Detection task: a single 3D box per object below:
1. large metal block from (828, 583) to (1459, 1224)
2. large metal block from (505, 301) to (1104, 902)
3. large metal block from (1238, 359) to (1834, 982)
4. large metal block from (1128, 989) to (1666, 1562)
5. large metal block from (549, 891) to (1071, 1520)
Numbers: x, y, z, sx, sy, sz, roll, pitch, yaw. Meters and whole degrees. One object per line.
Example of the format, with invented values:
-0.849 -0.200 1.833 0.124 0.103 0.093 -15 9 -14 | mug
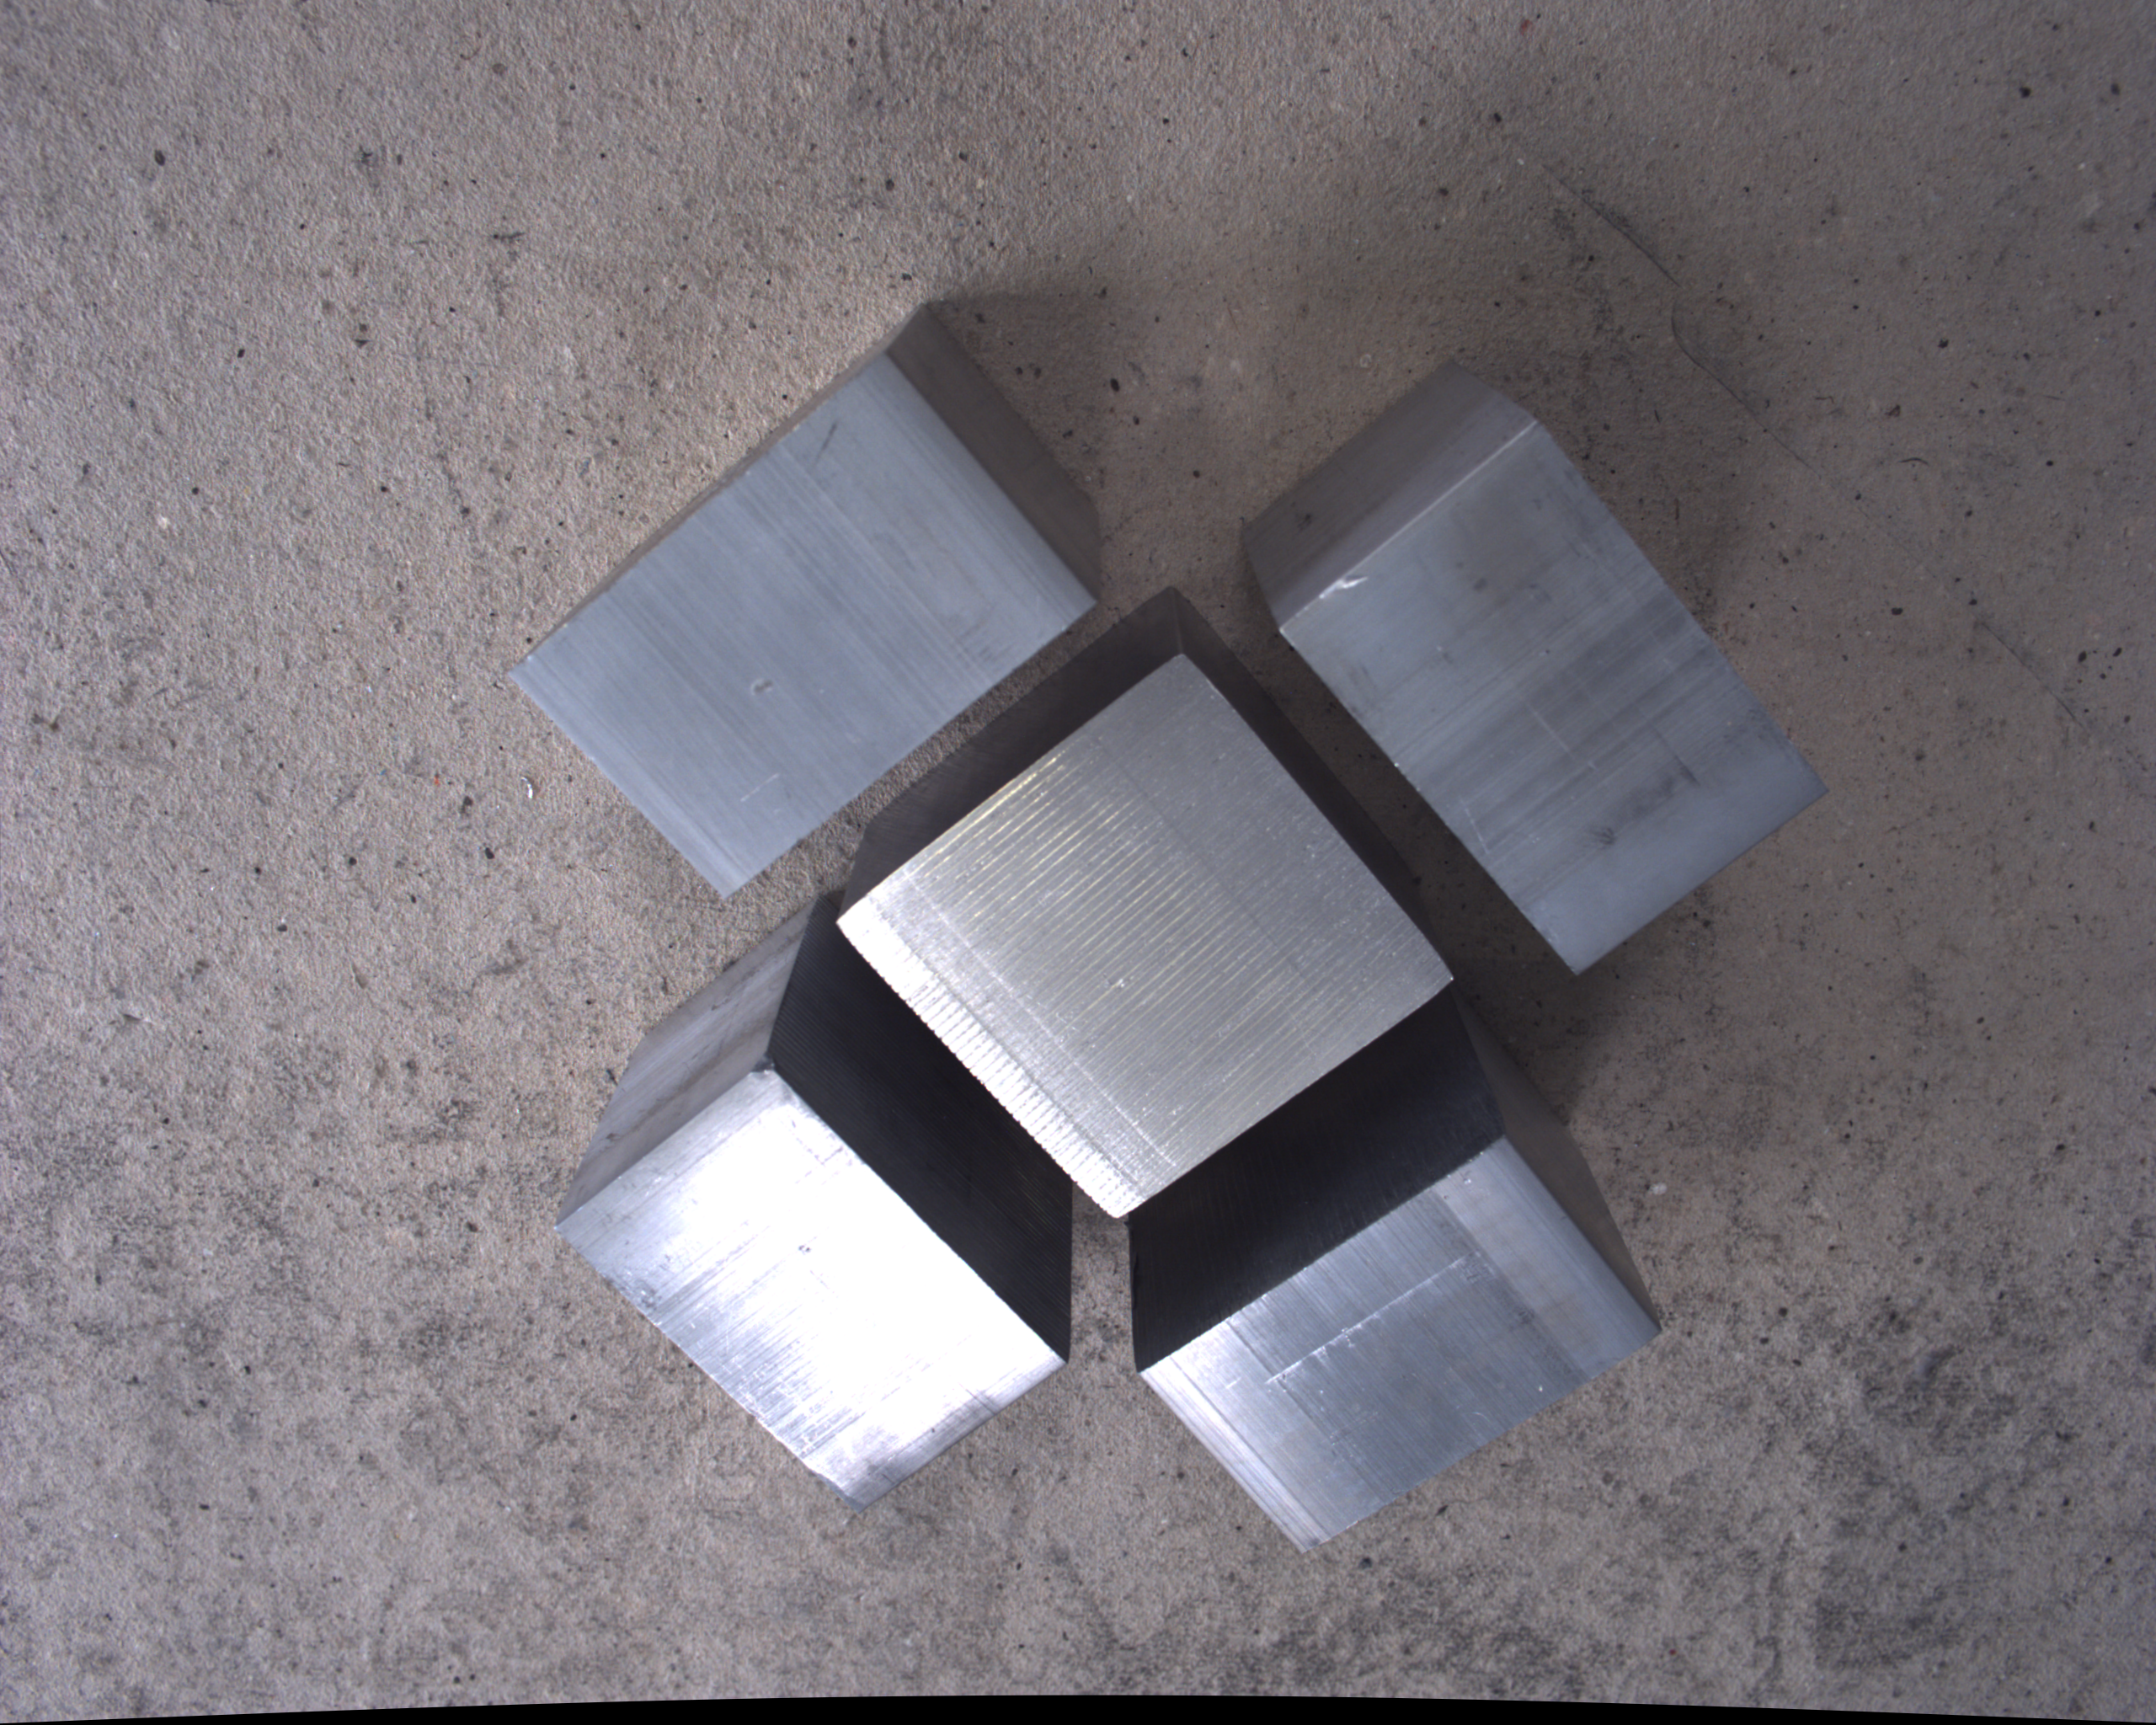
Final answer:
0.012 0.007 0.398 0.080 0.050 0.080 -38 106 12 | large metal block
-0.043 -0.049 0.364 0.080 0.080 0.050 -38 106 12 | large metal block
0.076 -0.037 0.368 0.050 0.080 0.080 -39 106 12 | large metal block
0.057 0.075 0.409 0.080 0.080 0.050 -36 106 12 | large metal block
-0.047 0.063 0.404 0.050 0.080 0.080 -38 106 13 | large metal block
